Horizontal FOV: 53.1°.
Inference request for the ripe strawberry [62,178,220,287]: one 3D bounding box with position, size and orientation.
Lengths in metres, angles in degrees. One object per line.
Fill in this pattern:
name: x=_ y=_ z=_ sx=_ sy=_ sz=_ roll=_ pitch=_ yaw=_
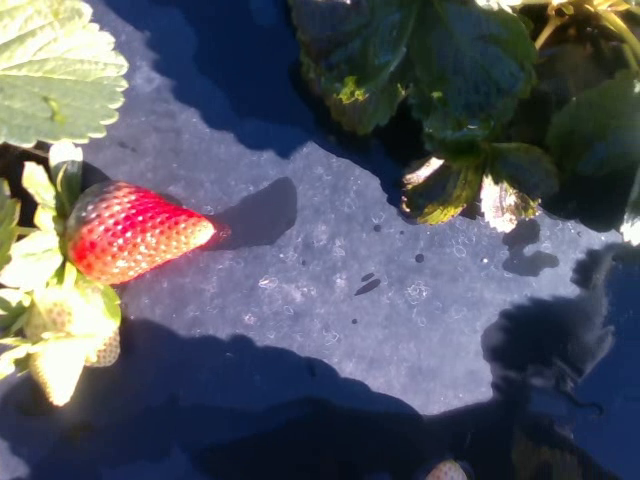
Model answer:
ripe strawberry: x=-0.070 y=-0.004 z=0.253 sx=0.064 sy=0.049 sz=0.052 roll=-5 pitch=38 yaw=4
